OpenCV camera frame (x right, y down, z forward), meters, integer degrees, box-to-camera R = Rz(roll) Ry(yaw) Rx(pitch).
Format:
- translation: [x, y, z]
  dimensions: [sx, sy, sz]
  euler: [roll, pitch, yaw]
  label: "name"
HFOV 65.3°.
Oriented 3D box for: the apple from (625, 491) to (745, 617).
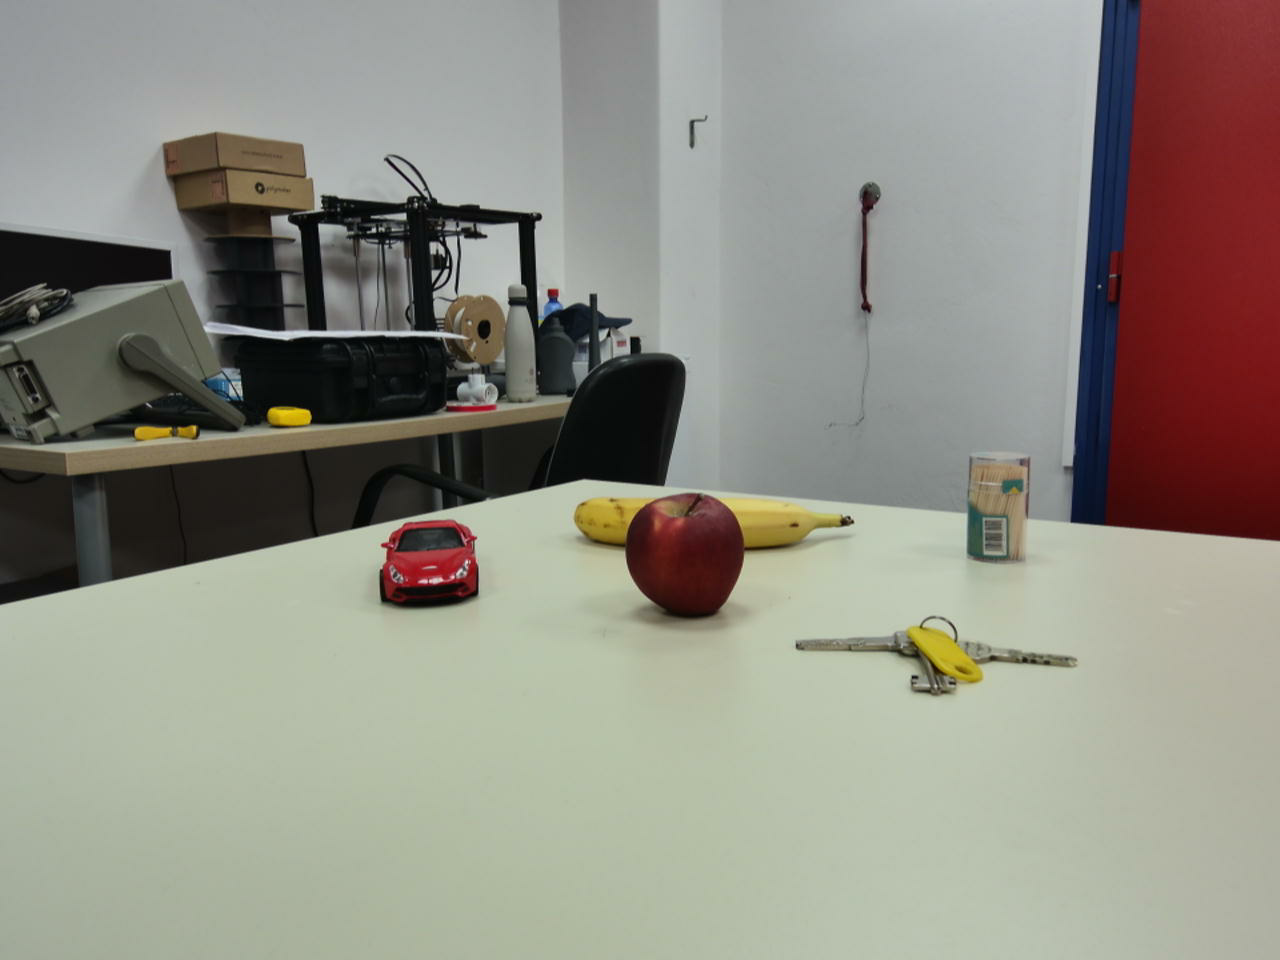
- translation: [0.027, 0.042, 0.584]
  dimensions: [0.070, 0.072, 0.070]
  euler: [1, 7, 0]
  label: "apple"
